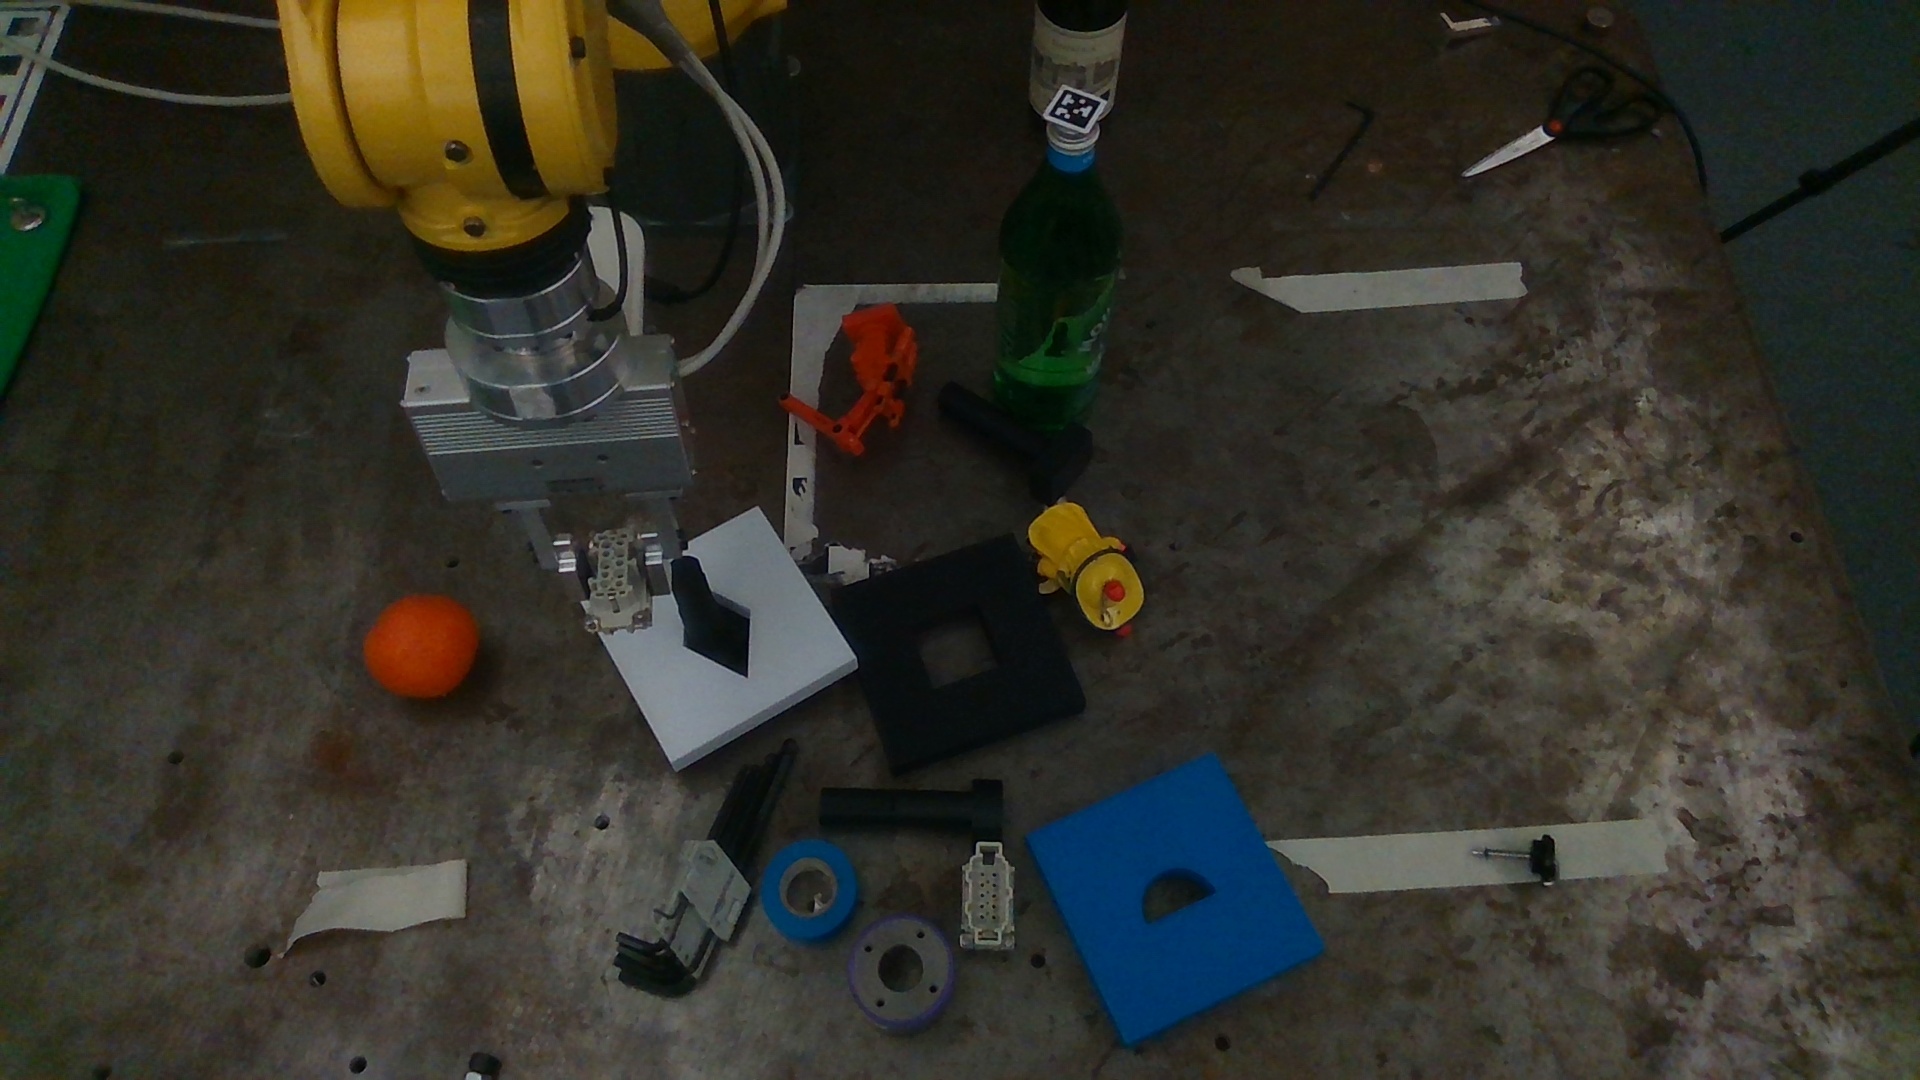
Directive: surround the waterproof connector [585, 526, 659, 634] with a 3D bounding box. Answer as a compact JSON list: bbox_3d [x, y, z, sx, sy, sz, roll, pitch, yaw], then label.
[{"bbox_3d":[-0.195,0.022,0.798,0.037,0.038,0.069,-10,51,2],"label":"waterproof connector"}]
